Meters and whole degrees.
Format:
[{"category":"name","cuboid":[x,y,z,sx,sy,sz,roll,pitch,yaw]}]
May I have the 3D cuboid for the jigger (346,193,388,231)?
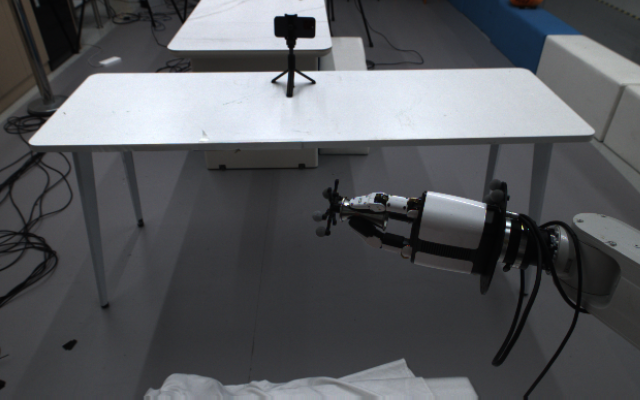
[{"category":"jigger","cuboid":[0.073,0.014,0.724,0.071,0.043,0.043,9,35,16]}]
